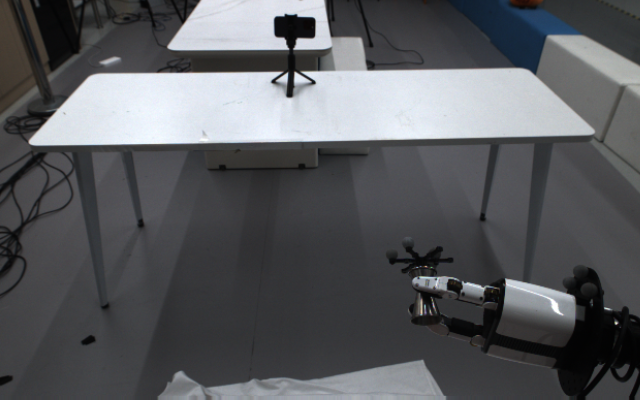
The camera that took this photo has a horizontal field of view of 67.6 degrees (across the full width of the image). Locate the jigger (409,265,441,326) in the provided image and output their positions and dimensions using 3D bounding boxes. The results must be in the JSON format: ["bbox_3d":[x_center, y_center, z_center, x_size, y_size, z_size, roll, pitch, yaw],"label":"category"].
[{"bbox_3d":[0.140,0.125,0.644,0.043,0.043,0.071,2,59,0],"label":"jigger"}]
